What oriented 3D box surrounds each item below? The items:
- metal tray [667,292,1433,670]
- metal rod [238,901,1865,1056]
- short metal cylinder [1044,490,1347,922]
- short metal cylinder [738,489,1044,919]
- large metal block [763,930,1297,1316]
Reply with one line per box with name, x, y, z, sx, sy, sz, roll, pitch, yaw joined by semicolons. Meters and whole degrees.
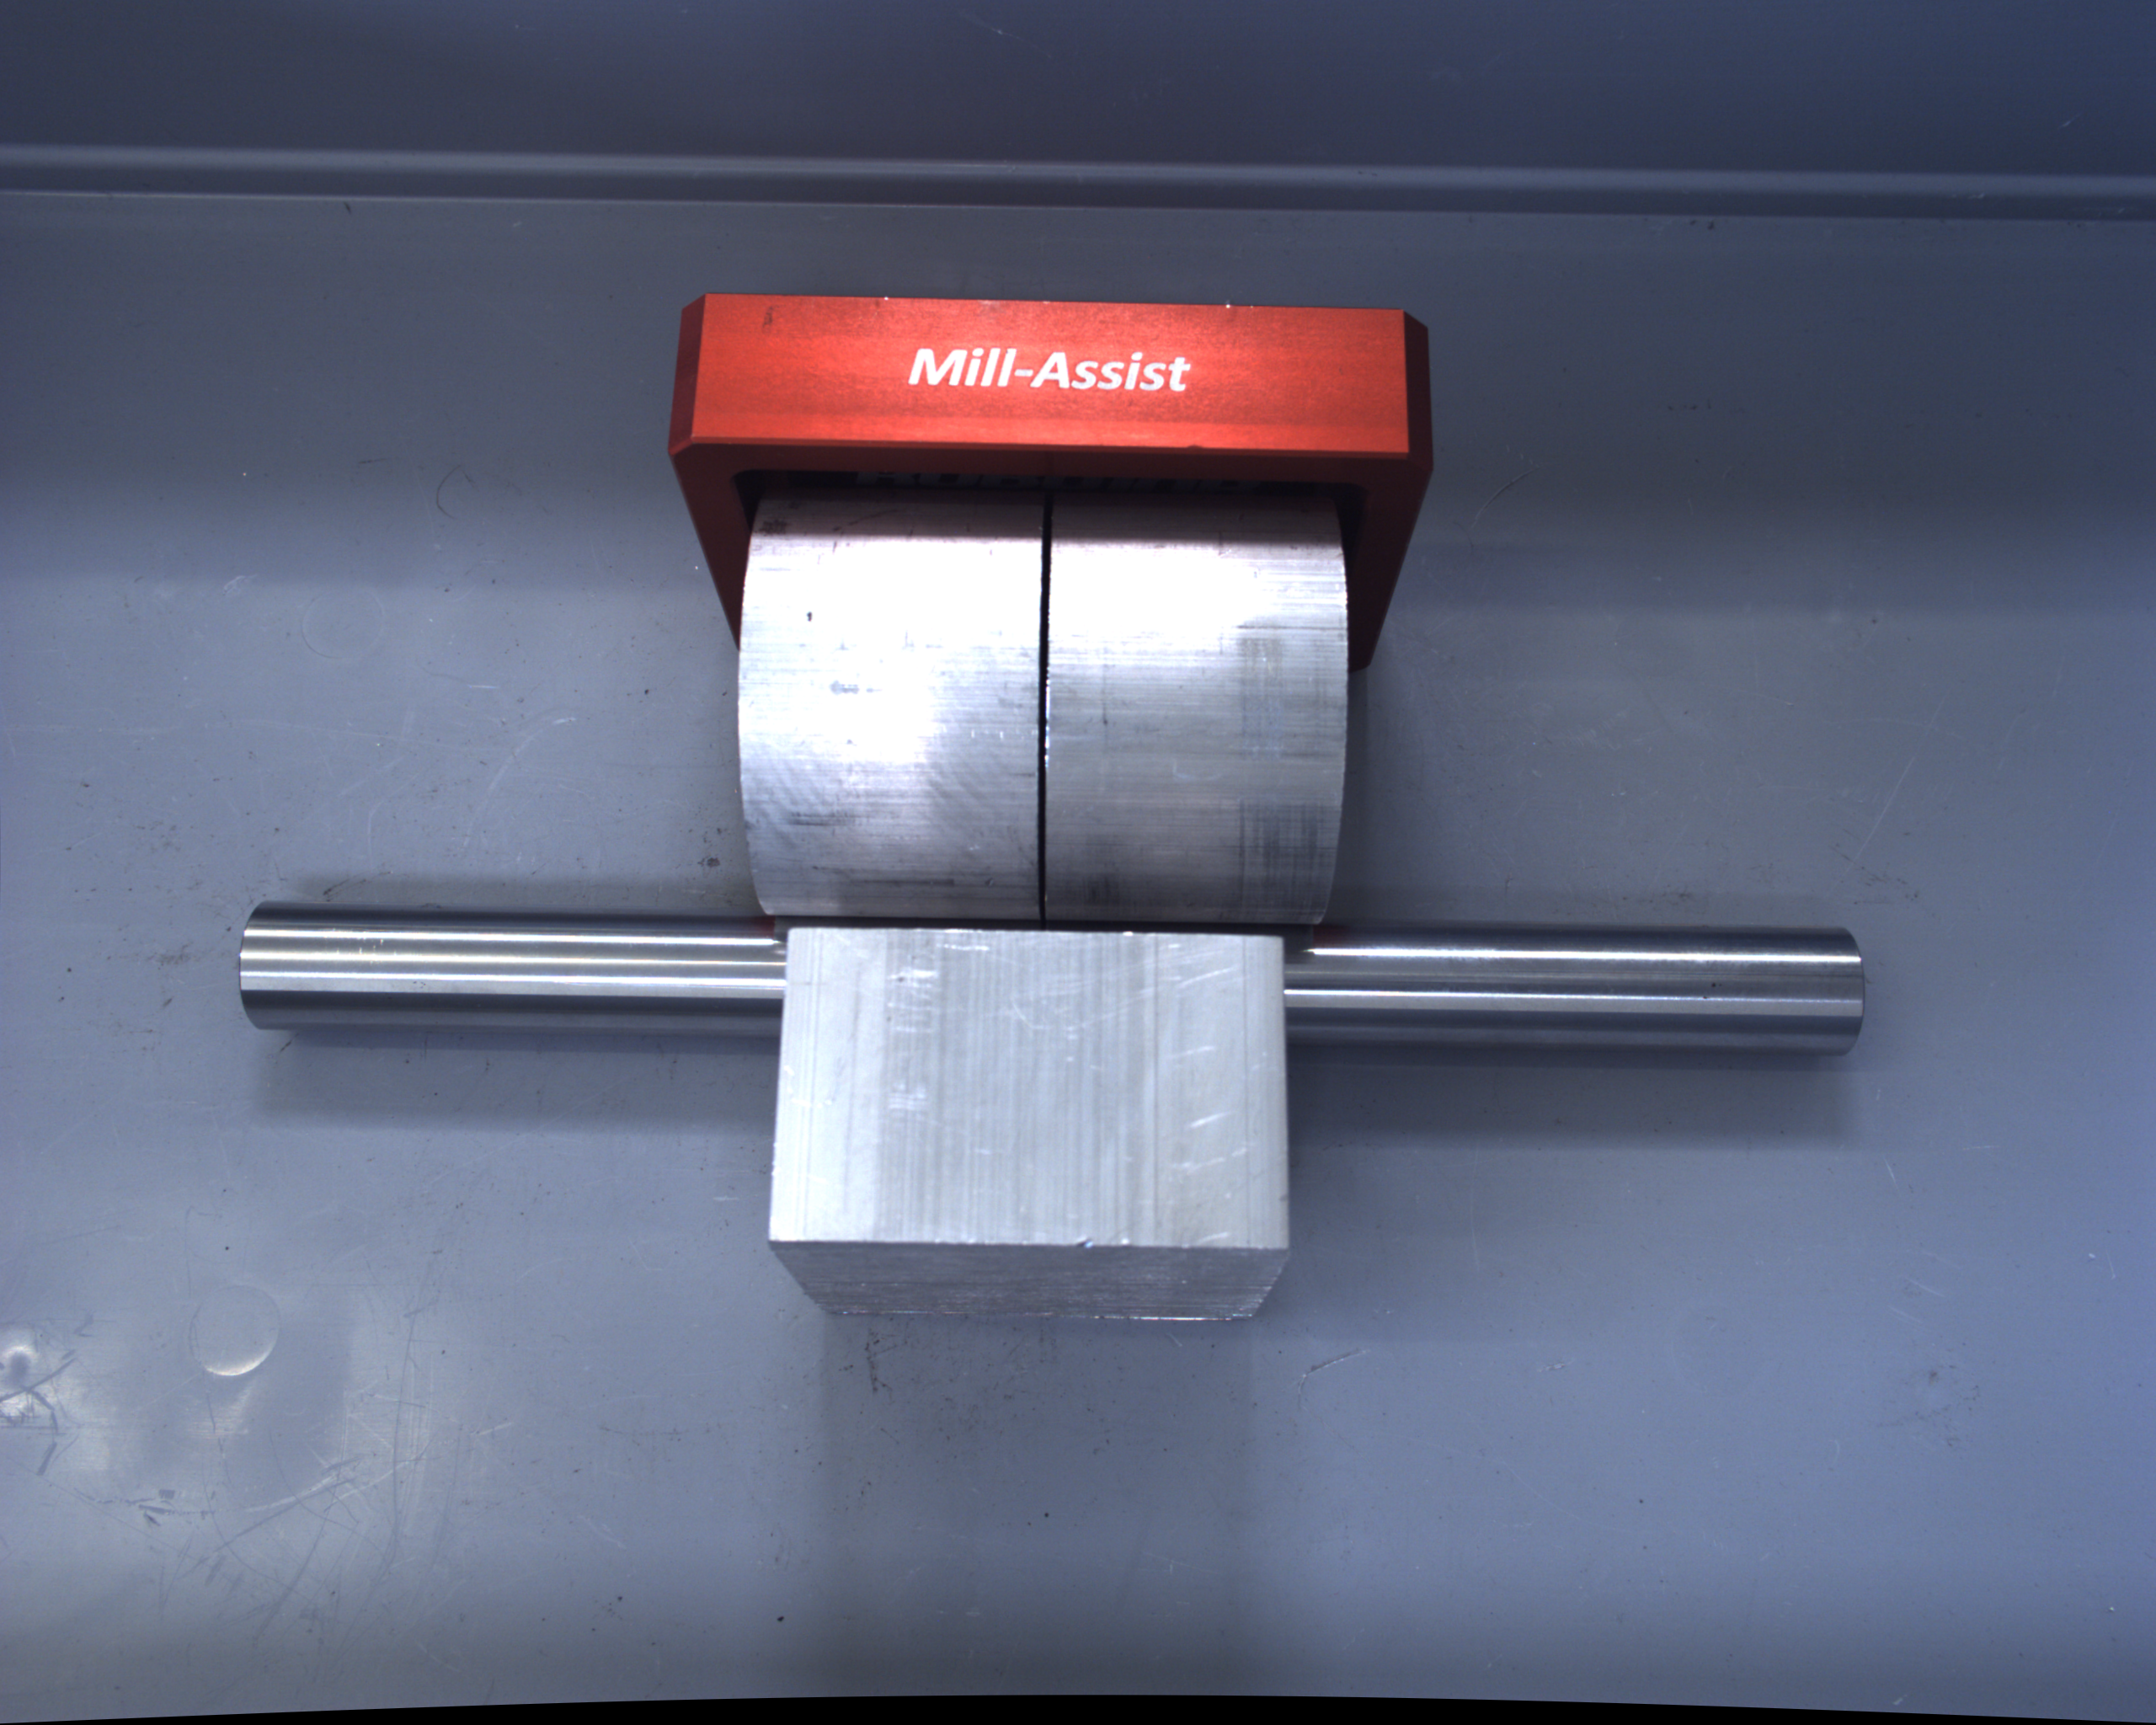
metal tray;-0.004;-0.069;0.398;0.131;0.090;0.030;1;70;0
metal rod;-0.005;0.022;0.399;0.302;0.025;0.025;1;70;0
short metal cylinder;0.020;-0.029;0.390;0.050;0.080;0.080;2;70;0
short metal cylinder;-0.032;-0.030;0.390;0.050;0.080;0.080;1;70;0
large metal block;-0.007;0.048;0.360;0.081;0.080;0.050;1;70;0
